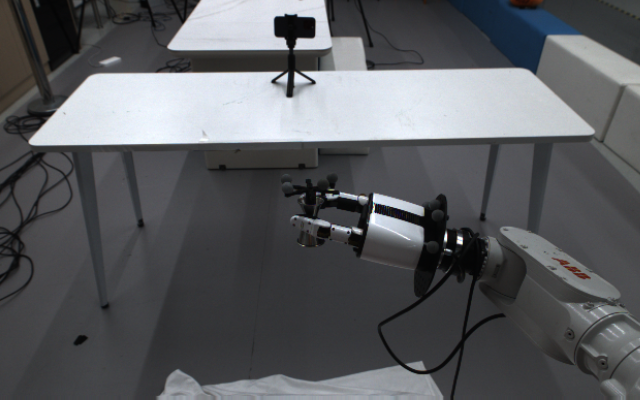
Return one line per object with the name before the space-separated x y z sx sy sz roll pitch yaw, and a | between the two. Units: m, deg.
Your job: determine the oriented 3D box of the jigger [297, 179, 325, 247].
jigger | -0.015 0.032 0.732 0.043 0.071 0.043 0 21 0
